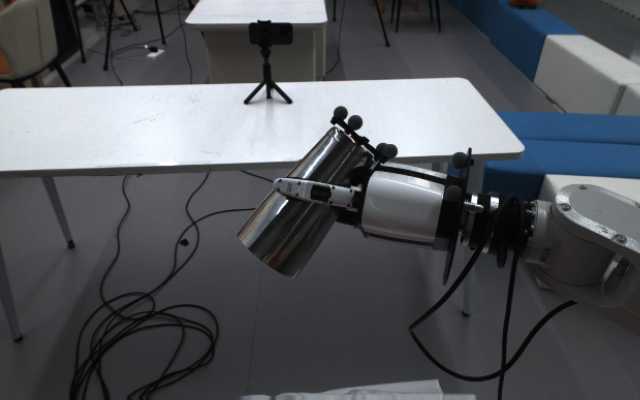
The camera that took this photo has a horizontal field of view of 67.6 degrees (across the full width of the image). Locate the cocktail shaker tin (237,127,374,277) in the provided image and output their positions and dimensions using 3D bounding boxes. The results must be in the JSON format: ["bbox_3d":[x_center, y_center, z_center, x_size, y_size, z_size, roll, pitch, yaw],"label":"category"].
[{"bbox_3d":[-0.012,-0.002,0.583,0.170,0.093,0.093,-50,47,4],"label":"cocktail shaker tin"}]
